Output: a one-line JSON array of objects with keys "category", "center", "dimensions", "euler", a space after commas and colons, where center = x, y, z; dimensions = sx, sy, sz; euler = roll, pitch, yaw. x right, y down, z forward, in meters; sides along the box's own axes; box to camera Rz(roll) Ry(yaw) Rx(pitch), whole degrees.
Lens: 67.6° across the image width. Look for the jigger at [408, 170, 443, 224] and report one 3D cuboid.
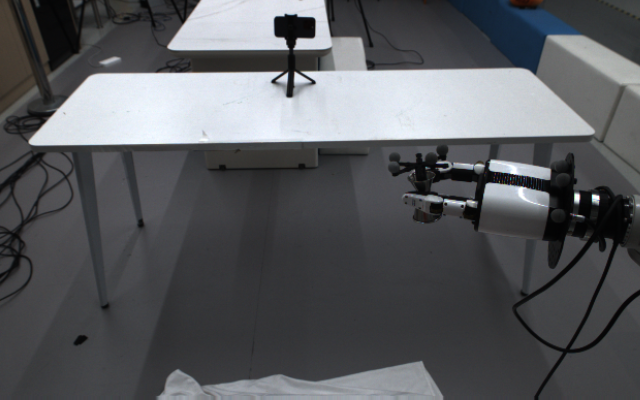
[{"category": "jigger", "center": [0.154, -0.006, 0.719], "dimensions": [0.043, 0.071, 0.043], "euler": [-11, 24, 5]}]
